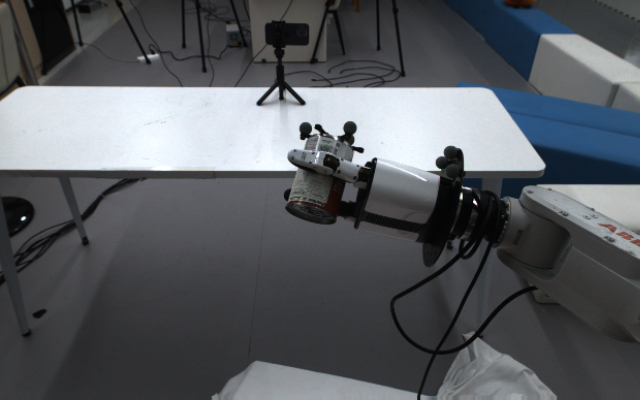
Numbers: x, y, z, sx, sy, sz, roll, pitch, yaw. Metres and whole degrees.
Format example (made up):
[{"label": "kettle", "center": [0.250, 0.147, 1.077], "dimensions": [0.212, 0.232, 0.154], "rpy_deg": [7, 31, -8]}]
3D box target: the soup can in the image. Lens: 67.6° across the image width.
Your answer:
[{"label": "soup can", "center": [0.002, -0.027, 0.635], "dimensions": [0.067, 0.067, 0.101], "rpy_deg": [11, 72, 13]}]
